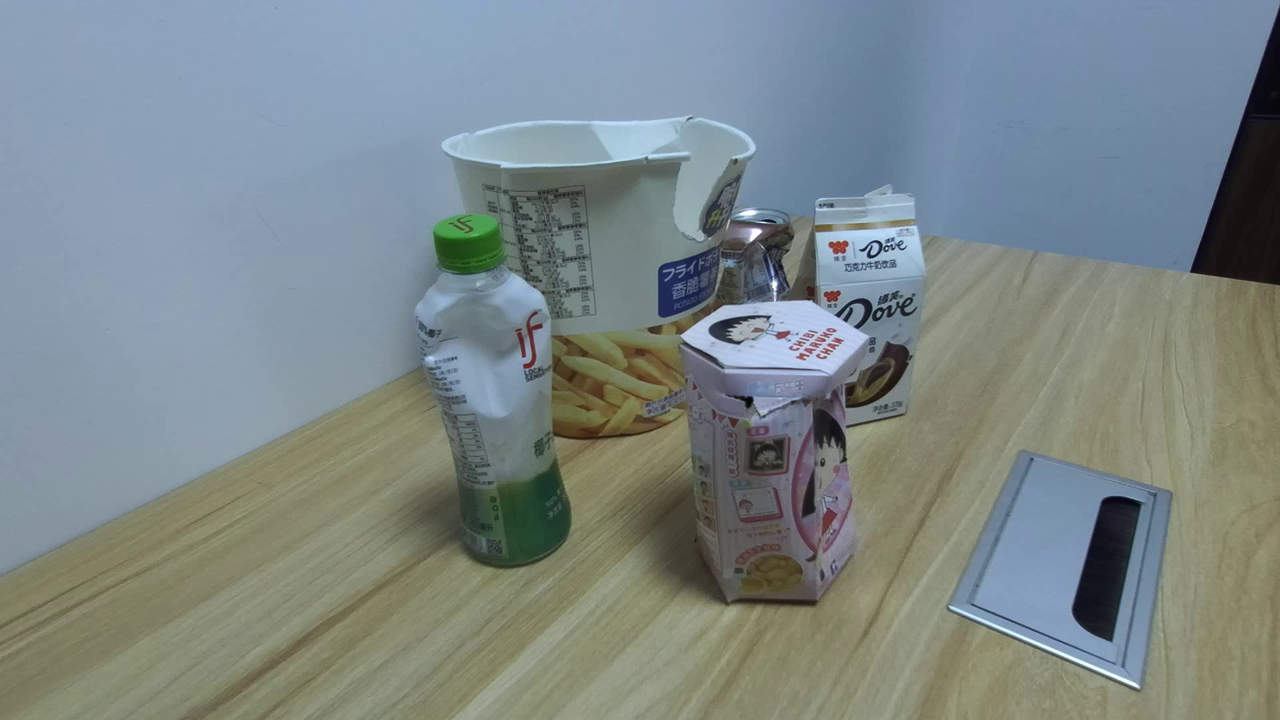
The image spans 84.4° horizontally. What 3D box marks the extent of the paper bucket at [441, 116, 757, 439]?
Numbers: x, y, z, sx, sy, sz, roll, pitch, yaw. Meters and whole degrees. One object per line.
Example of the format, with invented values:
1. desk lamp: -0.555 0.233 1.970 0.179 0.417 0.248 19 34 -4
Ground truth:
1. paper bucket: -0.027 -0.063 0.508 0.203 0.197 0.145 -4 29 1

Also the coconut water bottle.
1. coconut water bottle: -0.076 0.018 0.374 0.069 0.187 0.069 -2 27 1

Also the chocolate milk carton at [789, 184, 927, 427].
1. chocolate milk carton: 0.140 -0.039 0.488 0.084 0.155 0.073 -11 31 -13

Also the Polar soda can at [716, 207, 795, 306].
1. Polar soda can: 0.097 -0.072 0.603 0.070 0.114 0.074 0 31 -6

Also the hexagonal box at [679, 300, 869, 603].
1. hexagonal box: 0.065 0.047 0.363 0.091 0.134 0.090 -9 26 -9
